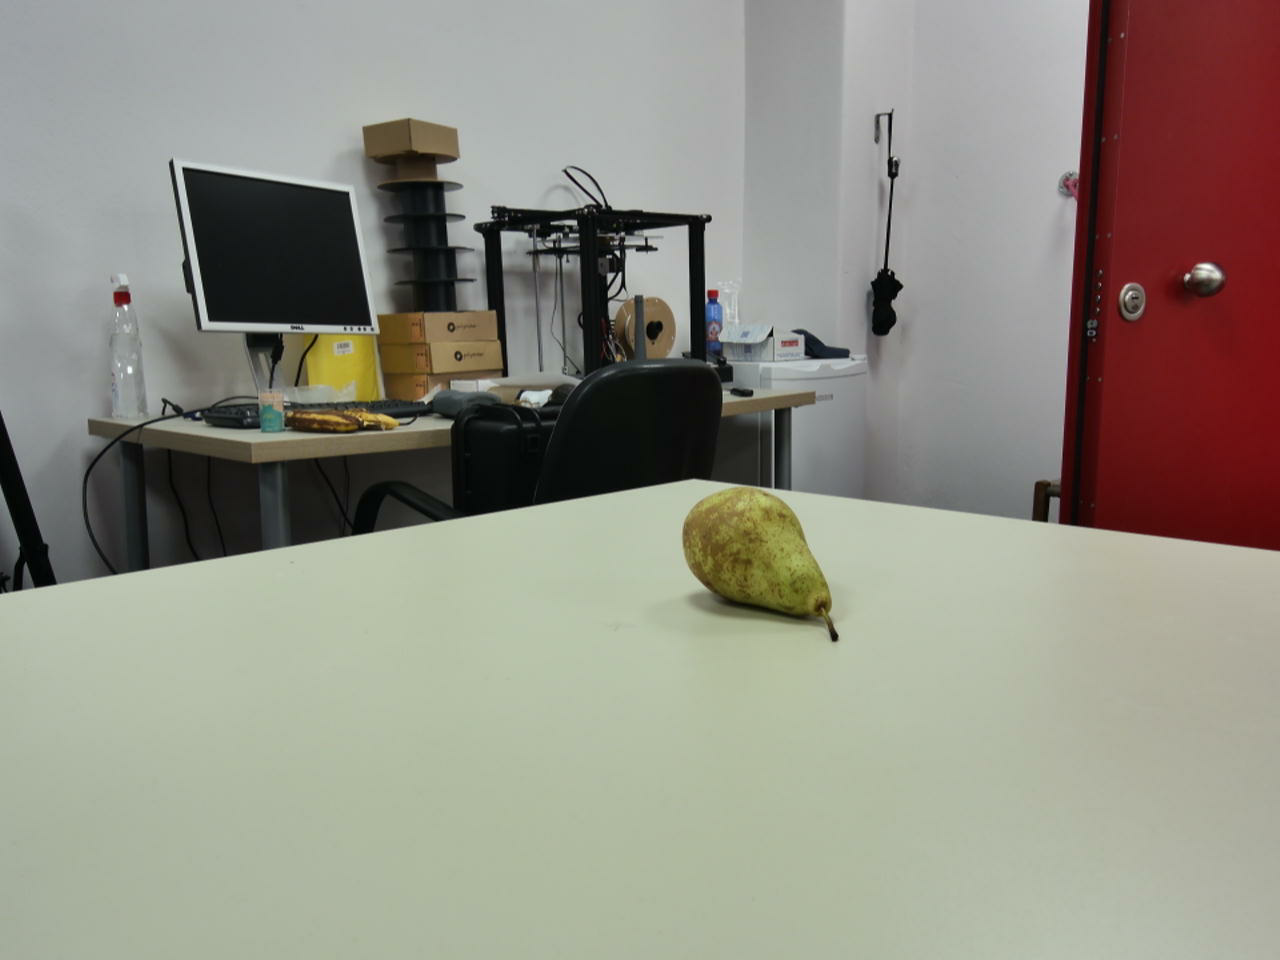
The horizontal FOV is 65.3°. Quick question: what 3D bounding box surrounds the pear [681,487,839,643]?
[{"bbox_3d":[0.081,0.044,0.611,0.128,0.075,0.071,6,8,38],"label":"pear"}]
